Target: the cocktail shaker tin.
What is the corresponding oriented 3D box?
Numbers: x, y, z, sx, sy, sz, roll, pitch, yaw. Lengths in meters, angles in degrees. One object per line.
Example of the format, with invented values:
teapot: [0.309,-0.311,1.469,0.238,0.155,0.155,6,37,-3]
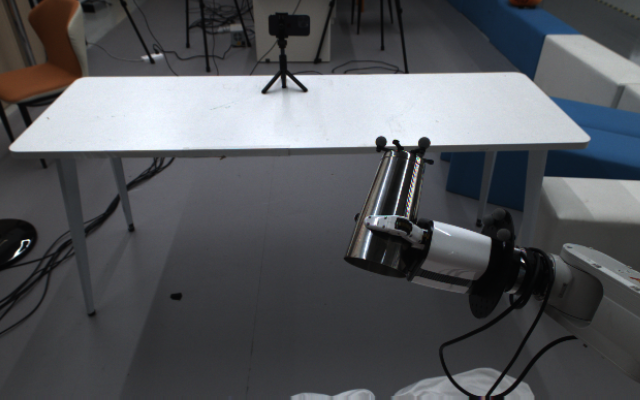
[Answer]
cocktail shaker tin: [0.101,0.018,0.704,0.093,0.093,0.170,13,73,15]
